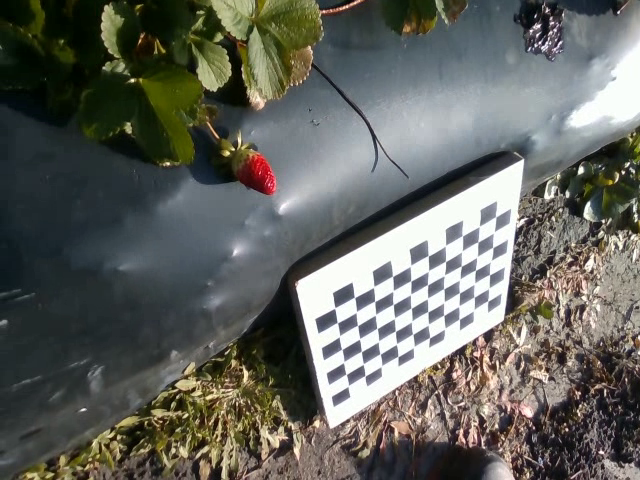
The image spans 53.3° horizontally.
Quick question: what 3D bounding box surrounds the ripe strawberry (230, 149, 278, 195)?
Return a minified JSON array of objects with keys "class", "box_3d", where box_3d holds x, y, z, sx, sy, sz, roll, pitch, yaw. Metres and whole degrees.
[{"class":"ripe strawberry","box_3d":[-0.043,-0.044,0.427,0.028,0.041,0.031,-44,-8,2]}]
